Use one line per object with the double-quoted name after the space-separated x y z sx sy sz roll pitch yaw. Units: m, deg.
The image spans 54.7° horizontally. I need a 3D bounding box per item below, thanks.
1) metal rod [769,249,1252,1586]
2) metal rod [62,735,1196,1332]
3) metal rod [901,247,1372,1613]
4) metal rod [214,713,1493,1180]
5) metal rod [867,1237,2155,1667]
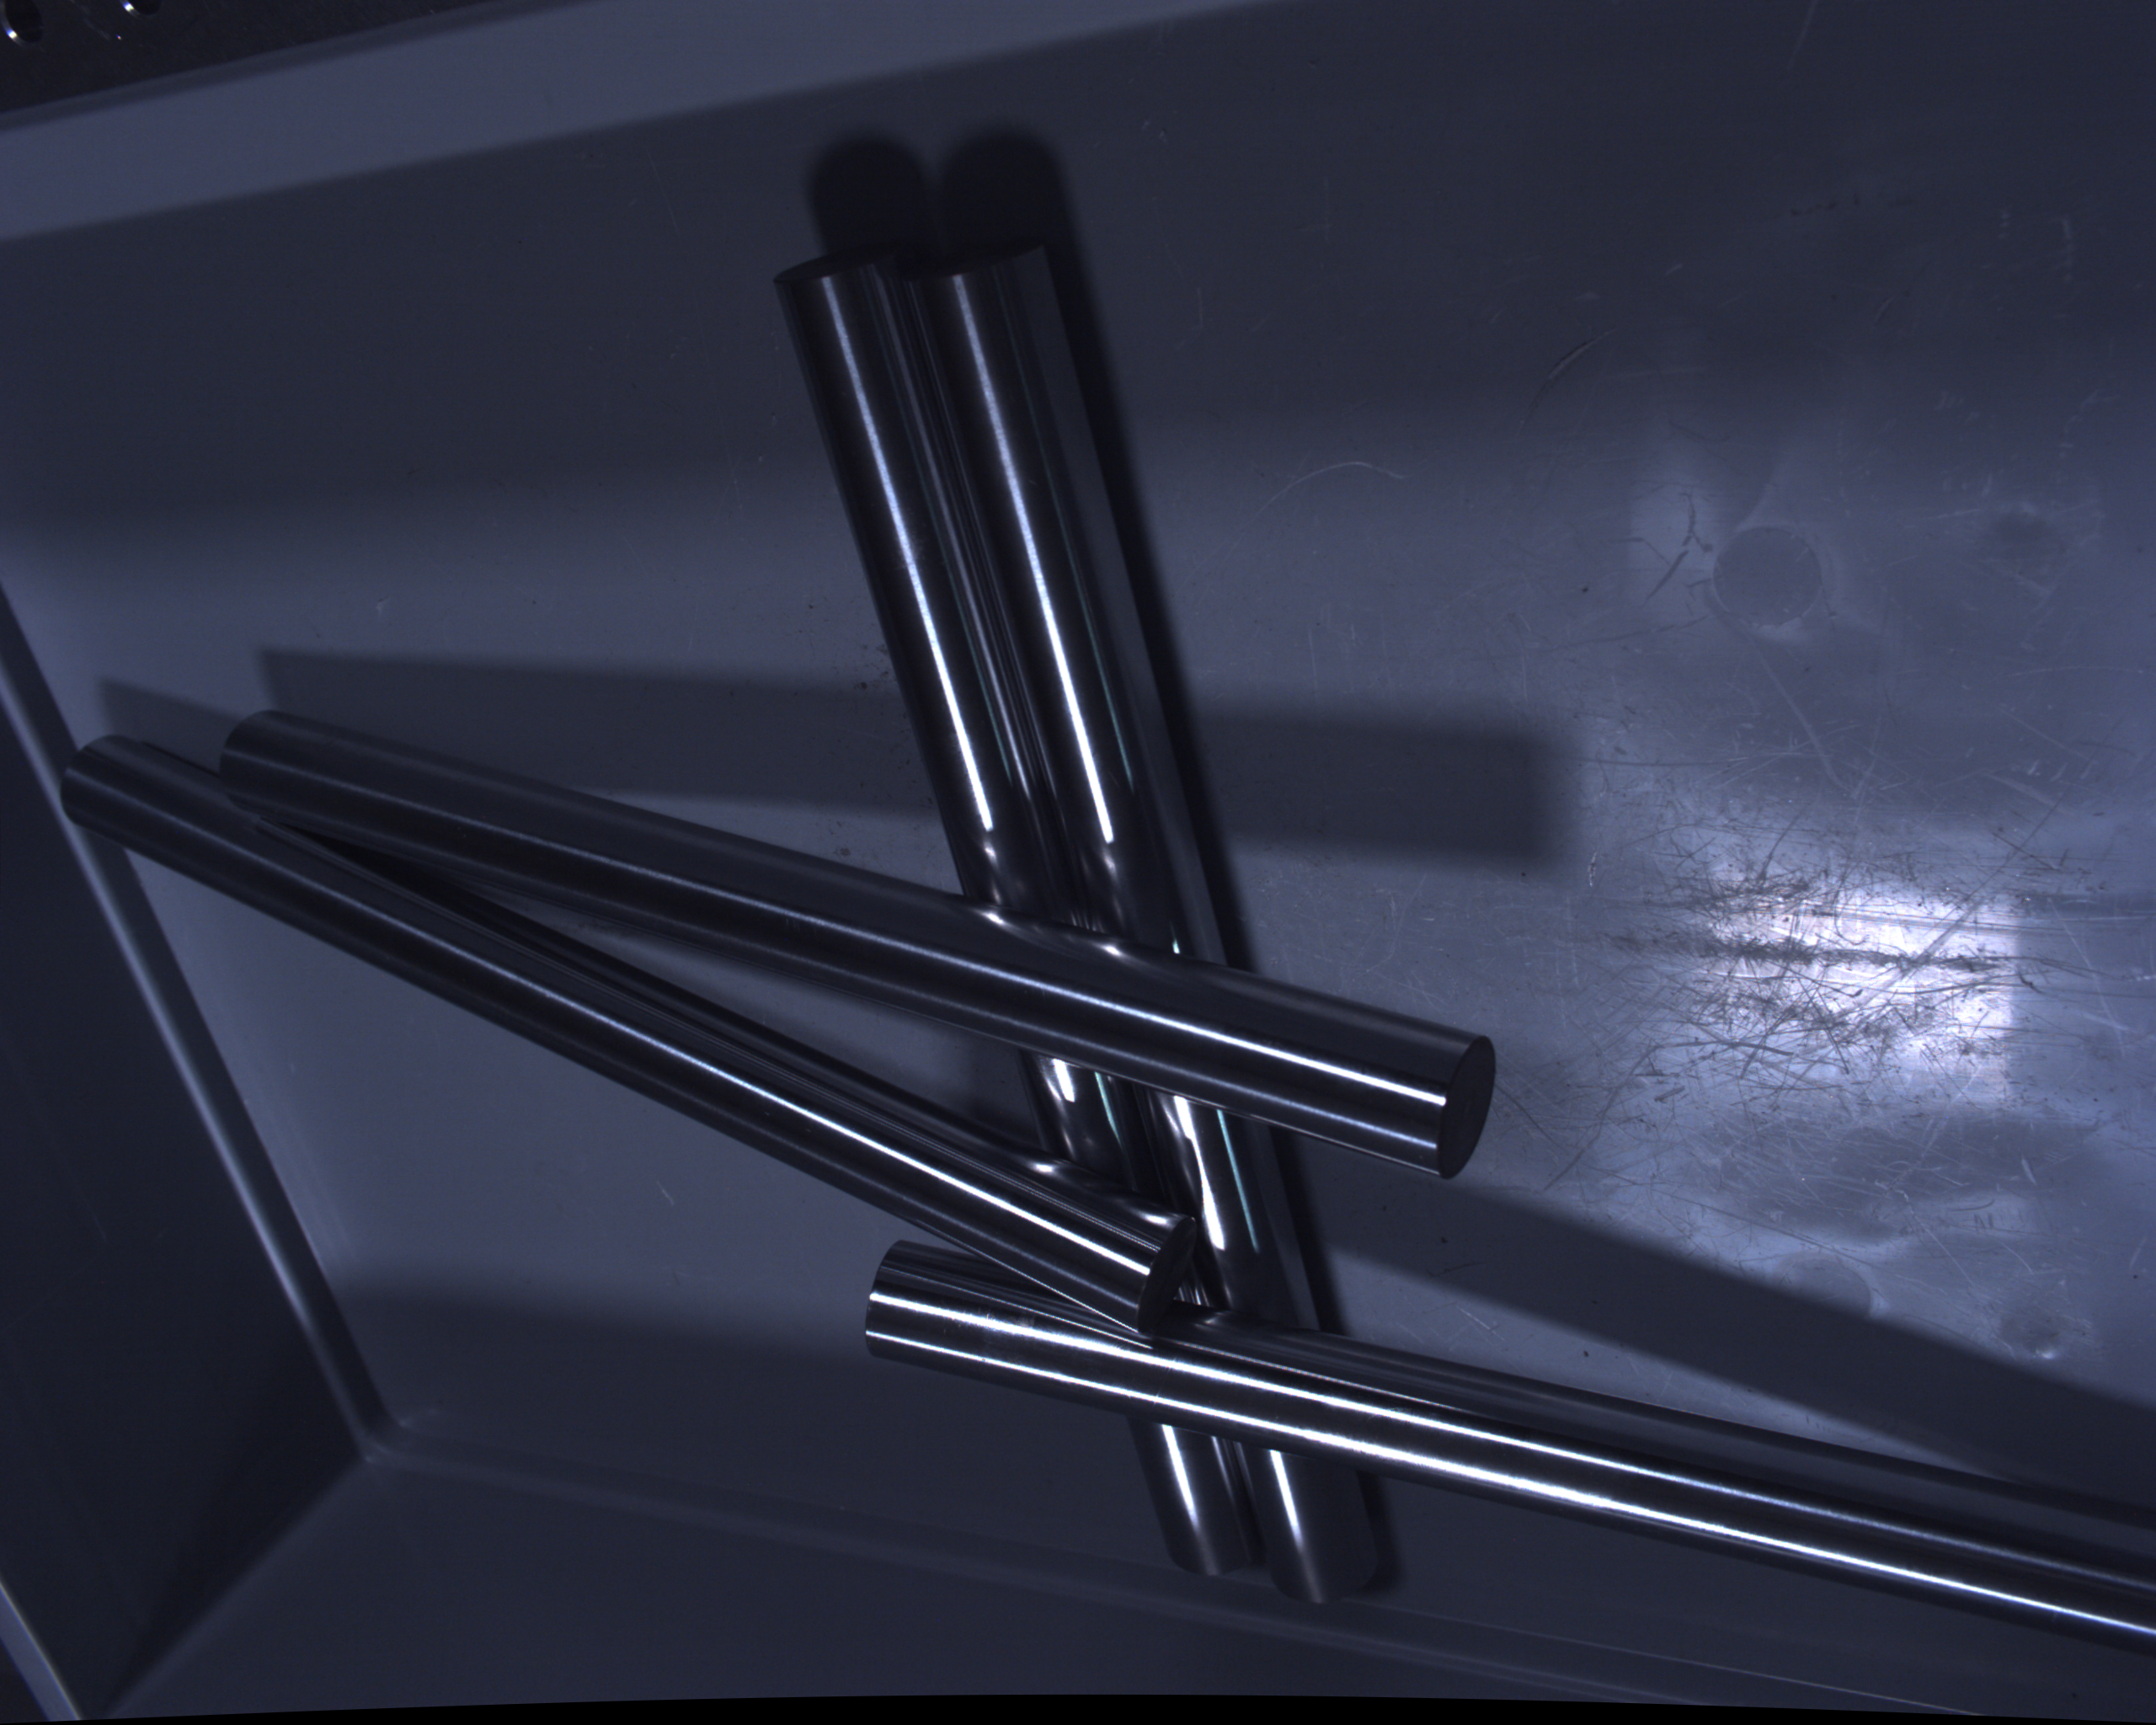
-0.005 0.028 0.423 0.025 0.025 0.298 -1 118 28 "metal rod"
-0.113 0.030 0.467 0.301 0.025 0.025 21 127 21 "metal rod"
0.019 0.031 0.413 0.025 0.025 0.298 -1 118 28 "metal rod"
-0.064 0.009 0.419 0.300 0.025 0.025 14 125 28 "metal rod"
0.103 0.116 0.401 0.301 0.025 0.025 10 123 16 "metal rod"
